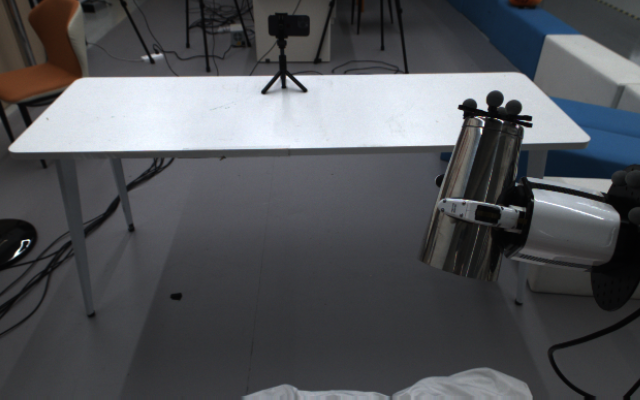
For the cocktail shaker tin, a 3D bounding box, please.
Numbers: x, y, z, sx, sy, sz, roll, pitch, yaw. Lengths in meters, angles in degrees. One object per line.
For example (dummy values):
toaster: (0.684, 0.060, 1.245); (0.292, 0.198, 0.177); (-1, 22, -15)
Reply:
cocktail shaker tin: (0.179, -0.004, 0.553); (0.093, 0.170, 0.093); (13, 4, -1)
